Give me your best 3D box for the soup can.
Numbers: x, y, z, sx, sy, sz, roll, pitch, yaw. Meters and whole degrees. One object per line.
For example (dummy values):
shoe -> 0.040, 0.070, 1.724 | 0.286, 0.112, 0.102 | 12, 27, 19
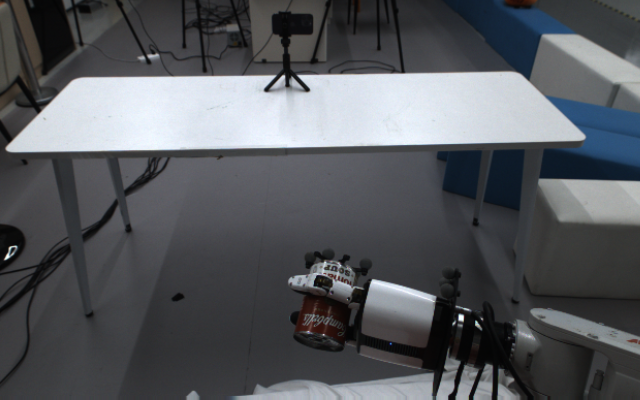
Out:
soup can -> 0.011, 0.139, 0.635 | 0.067, 0.067, 0.101 | 9, 58, 10
